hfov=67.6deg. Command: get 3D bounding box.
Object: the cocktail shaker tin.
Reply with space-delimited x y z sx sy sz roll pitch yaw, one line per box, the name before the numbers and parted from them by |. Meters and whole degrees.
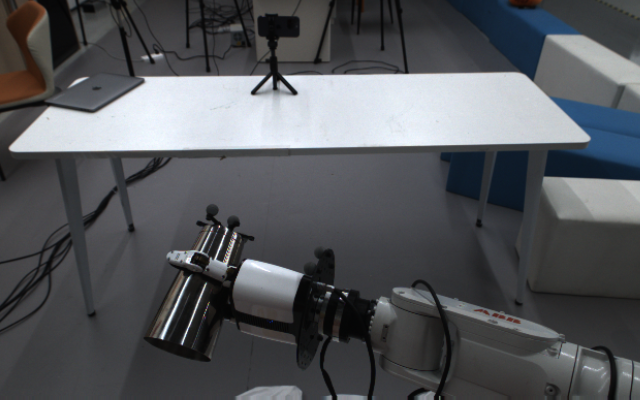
cocktail shaker tin | -0.160 0.124 0.662 0.093 0.093 0.170 9 59 10
